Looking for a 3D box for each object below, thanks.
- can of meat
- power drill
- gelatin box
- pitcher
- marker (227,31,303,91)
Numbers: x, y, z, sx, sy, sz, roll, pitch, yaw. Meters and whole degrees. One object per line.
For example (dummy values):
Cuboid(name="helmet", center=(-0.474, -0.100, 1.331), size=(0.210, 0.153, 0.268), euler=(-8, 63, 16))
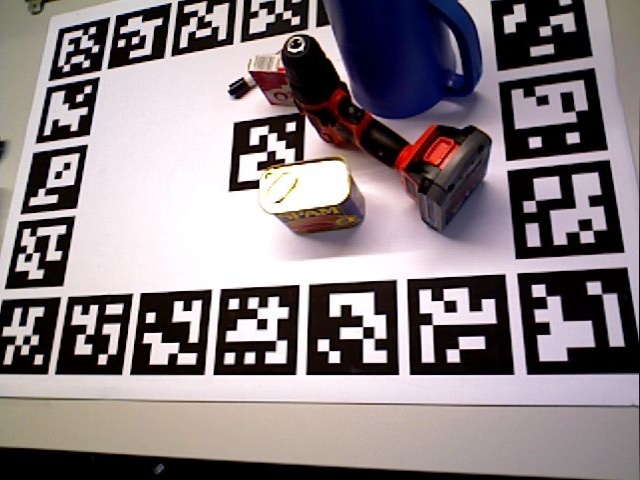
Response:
Cuboid(name="can of meat", center=(-0.007, -0.043, 0.602), size=(0.102, 0.084, 0.057), euler=(-5, 69, 16))
Cuboid(name="power drill", center=(0.047, -0.124, 0.558), size=(0.187, 0.184, 0.057), euler=(33, 86, 18))
Cuboid(name="gelatin box", center=(-0.027, -0.194, 0.664), size=(0.090, 0.073, 0.030), euler=(7, 78, 18))
Cuboid(name="pitcher", center=(0.090, -0.232, 0.551), size=(0.189, 0.242, 0.133), euler=(30, 86, 30))
Cuboid(name="marker", center=(-0.071, -0.235, 0.718), size=(0.121, 0.019, 0.019), euler=(-30, 67, 9))
